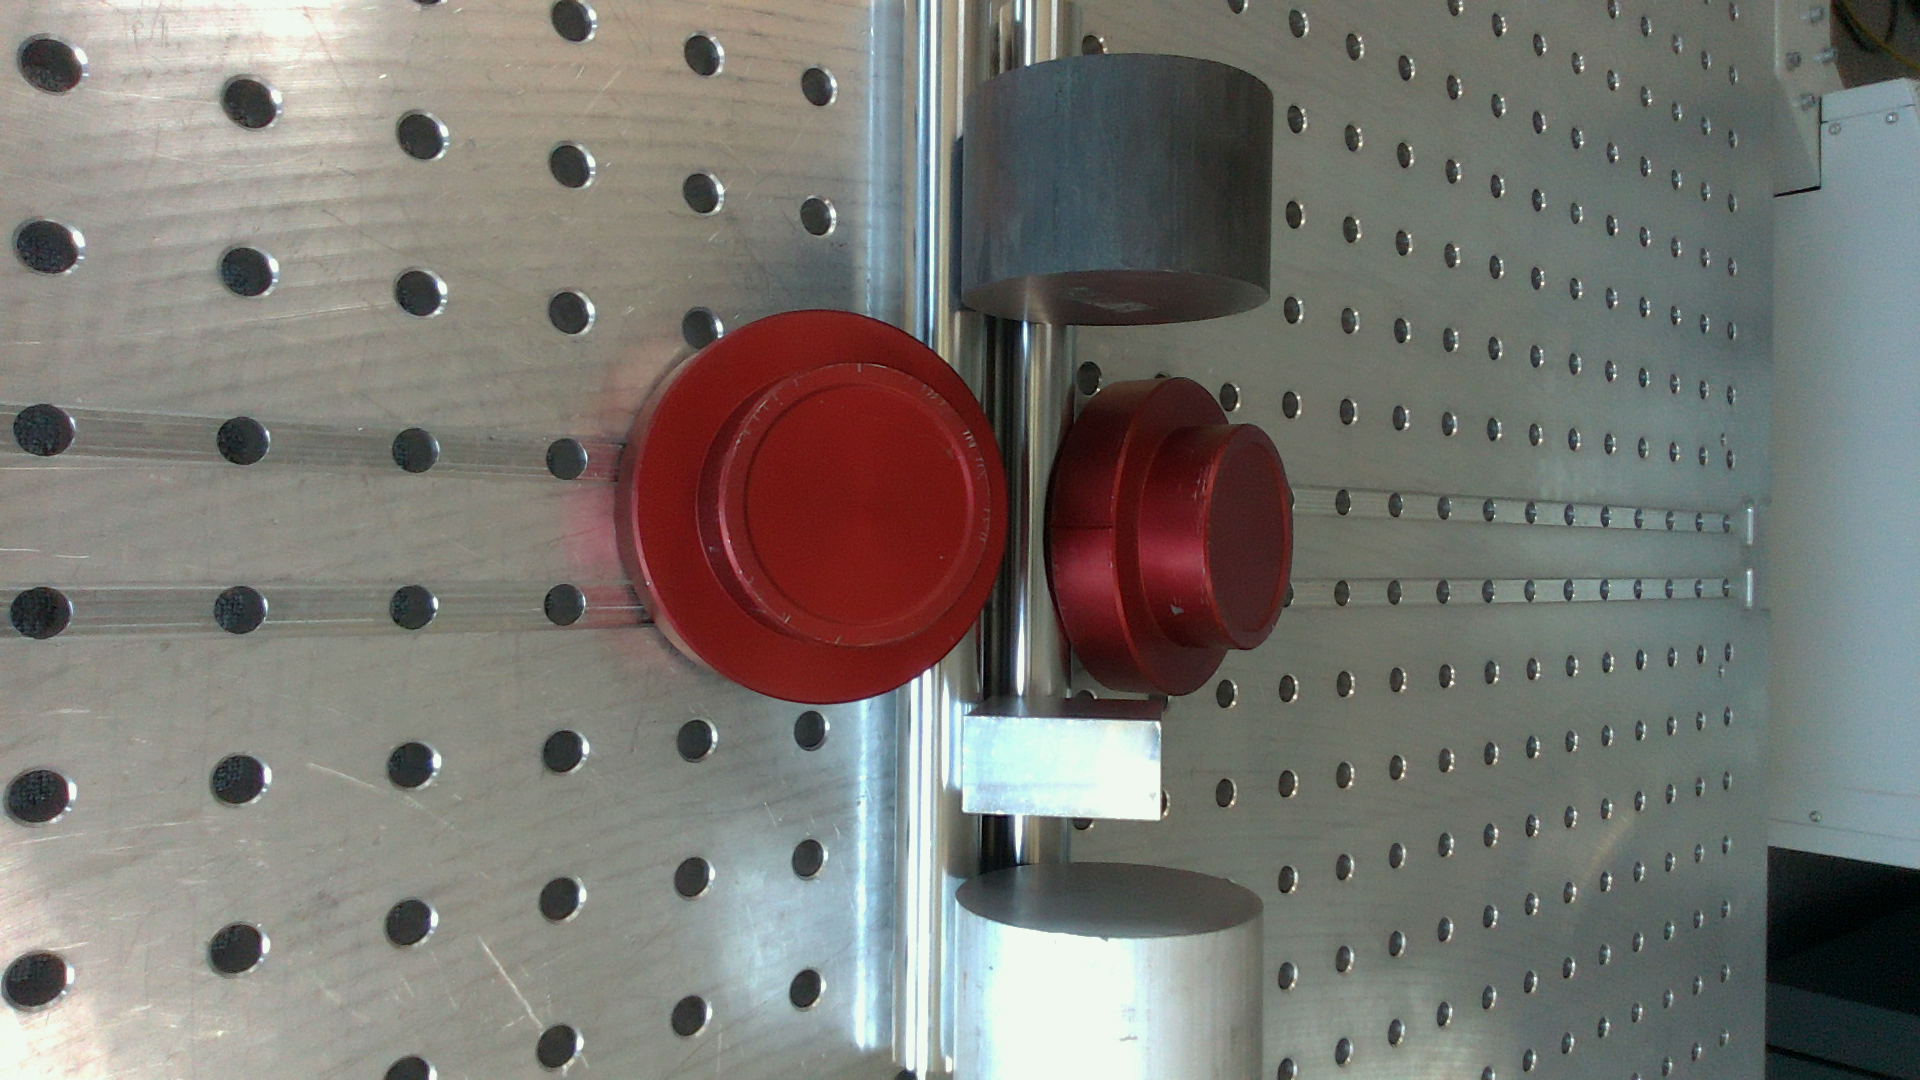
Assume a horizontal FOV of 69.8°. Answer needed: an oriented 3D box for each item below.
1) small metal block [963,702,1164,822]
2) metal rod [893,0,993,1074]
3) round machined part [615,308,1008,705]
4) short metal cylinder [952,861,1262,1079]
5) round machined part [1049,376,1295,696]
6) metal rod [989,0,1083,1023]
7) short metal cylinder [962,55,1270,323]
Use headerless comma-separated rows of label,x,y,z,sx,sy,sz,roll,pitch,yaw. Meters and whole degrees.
small metal block,0.029,0.058,0.370,0.050,0.050,0.025,8,83,-81
metal rod,-0.005,-0.005,0.387,0.025,0.025,0.300,1,89,-40
round machined part,-0.031,-0.008,0.339,0.098,0.042,0.098,0,90,-26
short metal cylinder,0.038,0.118,0.360,0.080,0.080,0.050,1,89,-40
round machined part,0.070,-0.001,0.422,0.098,0.042,0.098,-1,91,-55
metal rod,0.022,-0.007,0.409,0.025,0.025,0.300,1,89,-40
short metal cylinder,0.041,-0.088,0.361,0.080,0.080,0.050,1,89,-40
